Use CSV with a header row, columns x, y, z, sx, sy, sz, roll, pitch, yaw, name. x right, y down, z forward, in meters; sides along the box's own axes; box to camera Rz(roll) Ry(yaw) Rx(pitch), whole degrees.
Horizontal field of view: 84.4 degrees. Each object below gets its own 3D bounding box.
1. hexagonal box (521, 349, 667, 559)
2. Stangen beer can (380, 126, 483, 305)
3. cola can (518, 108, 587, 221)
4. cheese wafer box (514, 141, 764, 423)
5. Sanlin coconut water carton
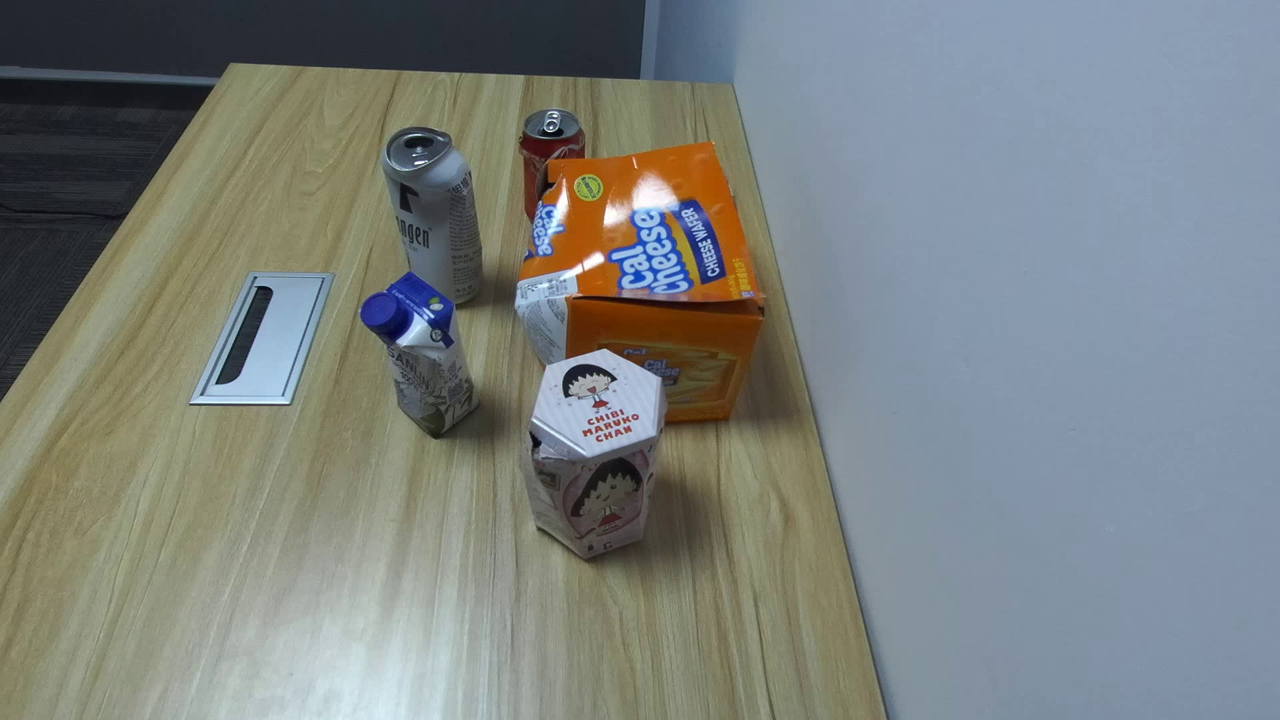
x,y,z,sx,sy,sz,roll,pitch,yaw,name
-0.033,0.069,0.499,0.091,0.134,0.090,14,47,9,hexagonal box
-0.183,-0.124,0.632,0.077,0.162,0.065,-6,50,-9,Stangen beer can
-0.089,-0.198,0.732,0.066,0.117,0.066,37,57,24,cola can
-0.012,-0.071,0.612,0.191,0.145,0.218,-4,50,-8,cheese wafer box
-0.171,-0.004,0.550,0.077,0.142,0.058,34,61,23,Sanlin coconut water carton
